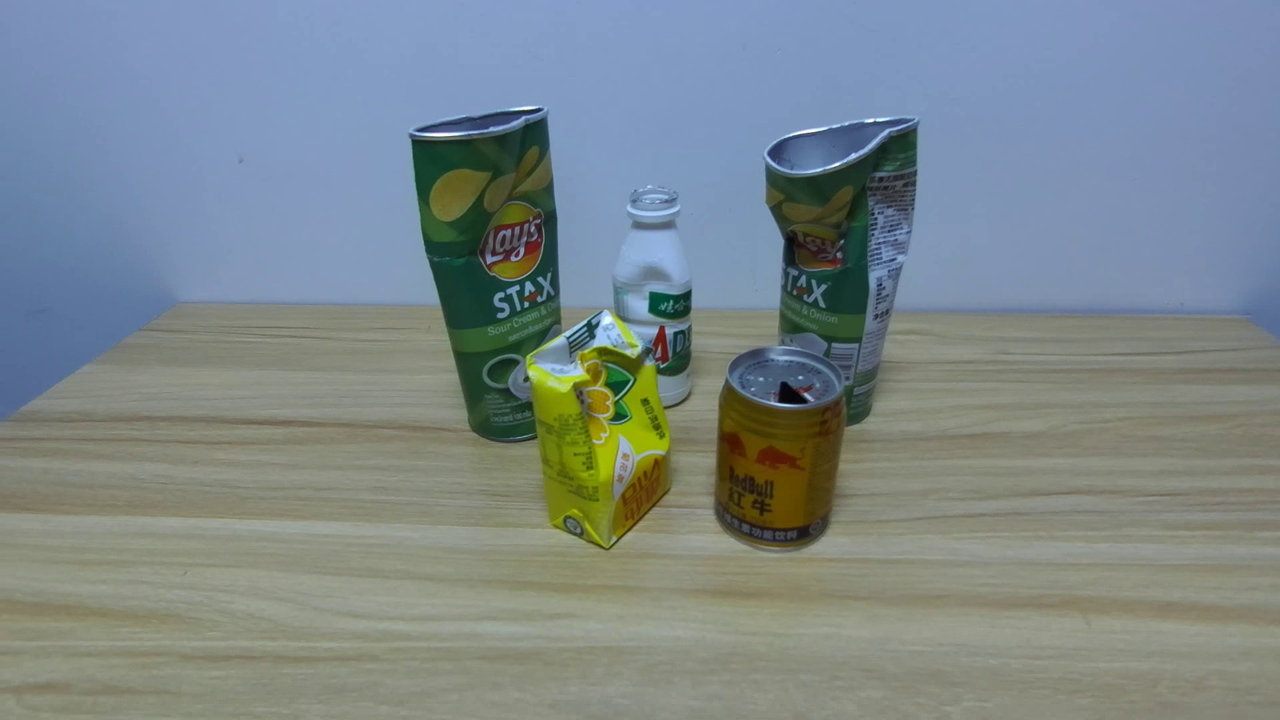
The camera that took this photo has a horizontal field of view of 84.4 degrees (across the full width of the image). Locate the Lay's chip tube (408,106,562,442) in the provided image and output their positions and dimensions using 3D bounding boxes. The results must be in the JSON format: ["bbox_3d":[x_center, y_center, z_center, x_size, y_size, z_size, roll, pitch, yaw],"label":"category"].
[{"bbox_3d":[-0.088,-0.050,0.451,0.069,0.200,0.075,0,32,1],"label":"Lay's chip tube"}]

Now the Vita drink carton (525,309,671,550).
[{"bbox_3d":[-0.018,0.038,0.383,0.046,0.110,0.071,16,35,32],"label":"Vita drink carton"}]

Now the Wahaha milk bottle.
[{"bbox_3d":[0.010,-0.039,0.475,0.055,0.149,0.055,0,27,0],"label":"Wahaha milk bottle"}]

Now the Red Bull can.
[{"bbox_3d":[0.074,0.047,0.379,0.067,0.093,0.067,1,30,0],"label":"Red Bull can"}]

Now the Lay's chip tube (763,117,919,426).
[{"bbox_3d":[0.120,-0.049,0.447,0.078,0.200,0.071,18,42,33],"label":"Lay's chip tube"}]
